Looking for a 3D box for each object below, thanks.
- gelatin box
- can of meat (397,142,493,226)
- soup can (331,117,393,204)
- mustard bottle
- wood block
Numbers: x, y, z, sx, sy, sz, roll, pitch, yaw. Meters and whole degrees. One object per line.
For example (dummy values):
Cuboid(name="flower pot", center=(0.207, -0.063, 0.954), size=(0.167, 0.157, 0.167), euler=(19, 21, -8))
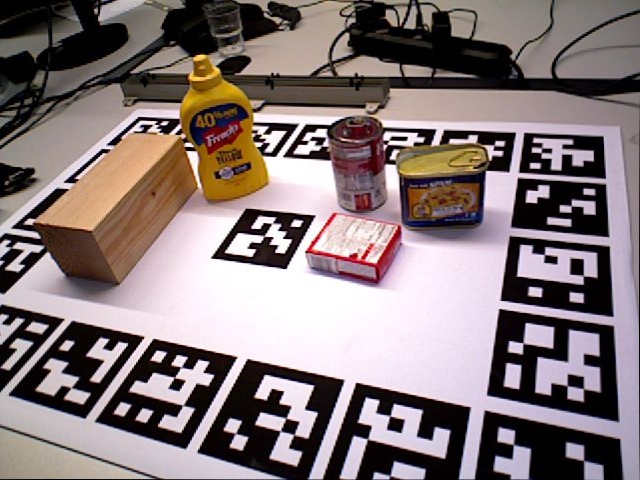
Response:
Cuboid(name="gelatin box", center=(0.042, 0.005, 0.603), size=(0.090, 0.030, 0.071), euler=(12, 48, 29))
Cuboid(name="can of meat", center=(0.140, -0.065, 0.625), size=(0.102, 0.085, 0.056), euler=(-2, 42, 7))
Cuboid(name="soup can", center=(0.053, -0.103, 0.661), size=(0.068, 0.104, 0.067), euler=(-7, 42, 6))
Cuboid(name="mustard bottle", center=(-0.136, -0.141, 0.703), size=(0.096, 0.195, 0.057), euler=(-10, 40, -1))
Cuboid(name="wood block", center=(-0.254, -0.047, 0.696), size=(0.091, 0.091, 0.201), euler=(8, 40, 19))
